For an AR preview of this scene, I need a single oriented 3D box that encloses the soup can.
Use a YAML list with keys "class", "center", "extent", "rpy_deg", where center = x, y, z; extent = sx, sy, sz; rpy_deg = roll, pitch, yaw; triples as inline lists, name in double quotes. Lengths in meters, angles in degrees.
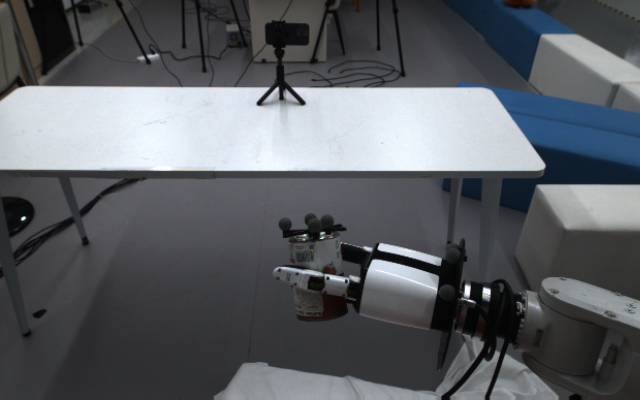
- class: "soup can"
  center: [-0.001, 0.094, 0.611]
  extent: [0.067, 0.101, 0.067]
  rpy_deg: [-7, 3, 0]
